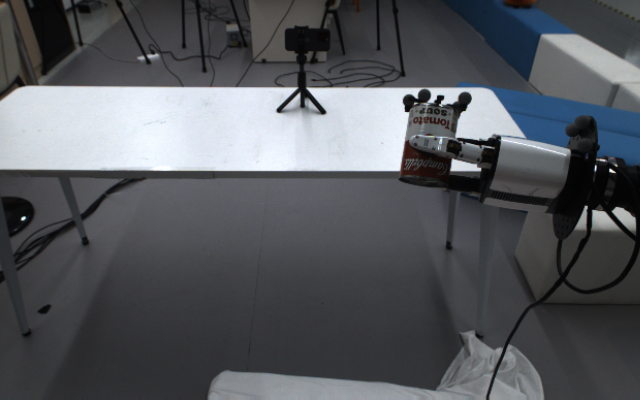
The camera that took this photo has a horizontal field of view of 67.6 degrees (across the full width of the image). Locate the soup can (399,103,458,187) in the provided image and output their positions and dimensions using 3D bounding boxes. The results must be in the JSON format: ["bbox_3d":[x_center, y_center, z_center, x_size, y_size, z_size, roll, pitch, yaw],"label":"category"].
[{"bbox_3d":[0.148,-0.075,0.658,0.067,0.101,0.067,9,-5,1],"label":"soup can"}]
